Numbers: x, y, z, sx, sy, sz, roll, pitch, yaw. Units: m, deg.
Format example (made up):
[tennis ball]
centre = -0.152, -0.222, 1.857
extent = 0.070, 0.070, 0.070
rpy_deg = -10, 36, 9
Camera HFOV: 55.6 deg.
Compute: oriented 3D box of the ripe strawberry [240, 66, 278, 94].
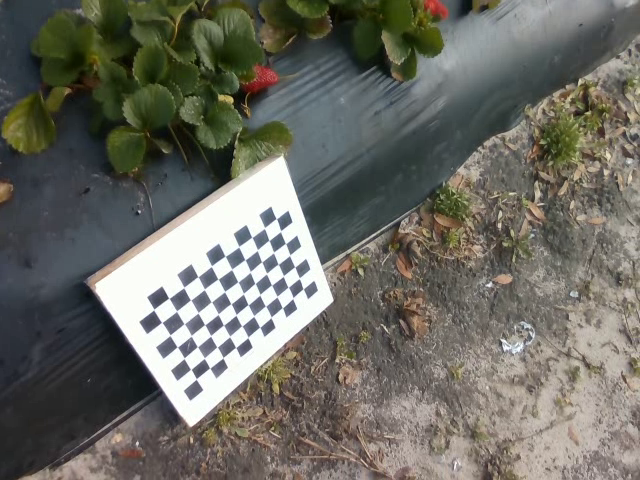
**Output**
[ripe strawberry]
centre = -0.076, -0.208, 0.760
extent = 0.064, 0.051, 0.043
rpy_deg = -5, 19, -41
